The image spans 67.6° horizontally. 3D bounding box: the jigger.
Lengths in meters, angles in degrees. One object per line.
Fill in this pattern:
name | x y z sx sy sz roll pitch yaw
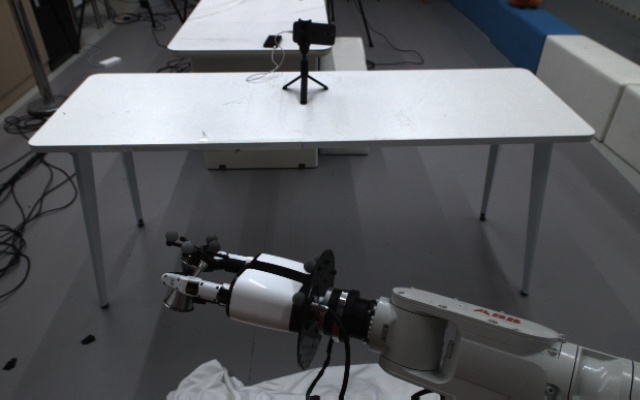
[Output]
jigger | -0.188 0.117 0.676 0.043 0.071 0.043 21 6 -2
